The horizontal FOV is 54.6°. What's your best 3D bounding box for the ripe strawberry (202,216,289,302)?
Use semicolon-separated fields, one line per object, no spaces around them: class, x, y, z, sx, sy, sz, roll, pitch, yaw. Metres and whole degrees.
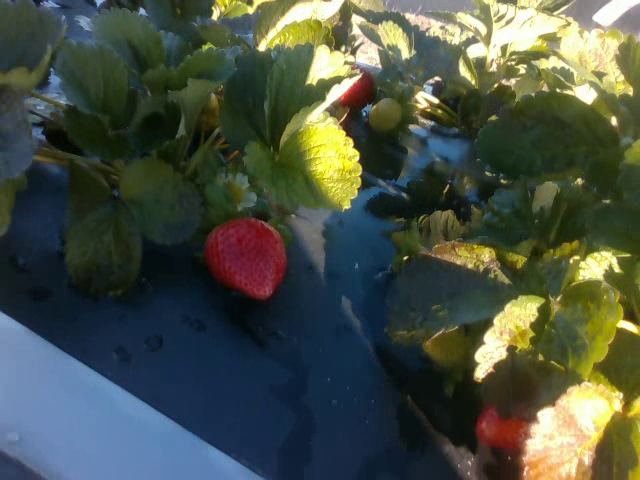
ripe strawberry;-0.034;0.011;0.300;0.045;0.059;0.042;-29;-41;7
